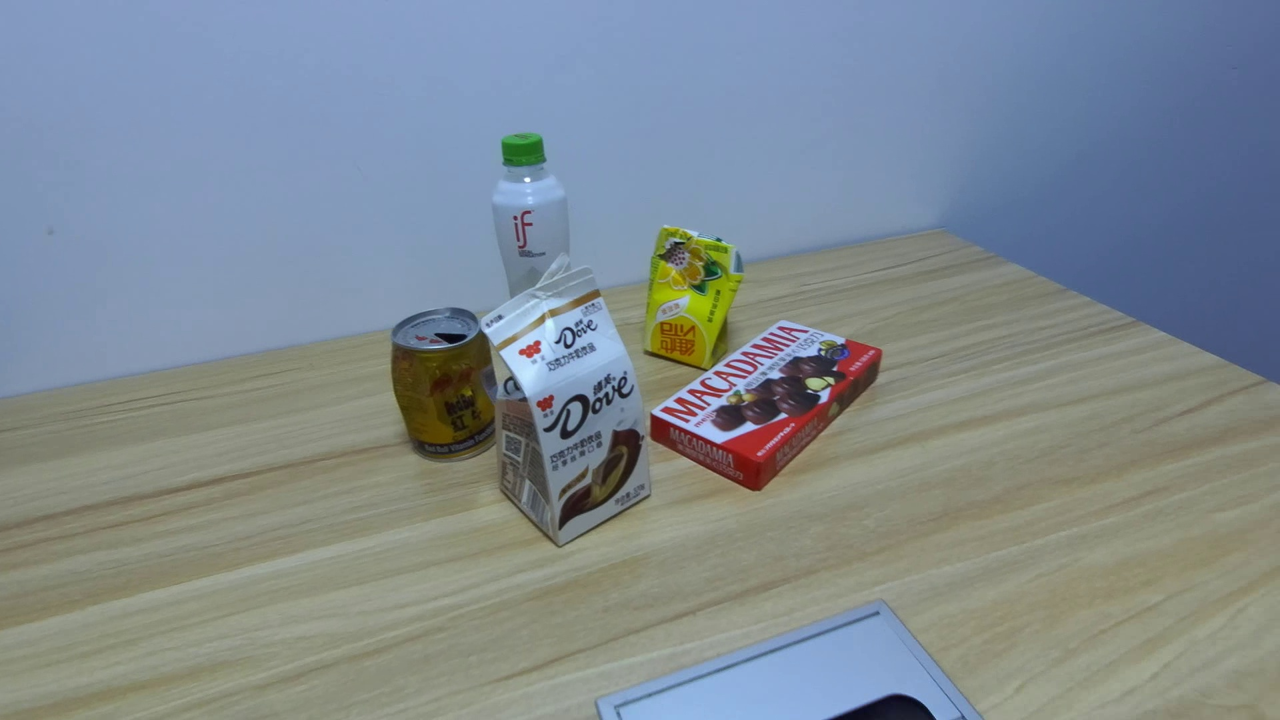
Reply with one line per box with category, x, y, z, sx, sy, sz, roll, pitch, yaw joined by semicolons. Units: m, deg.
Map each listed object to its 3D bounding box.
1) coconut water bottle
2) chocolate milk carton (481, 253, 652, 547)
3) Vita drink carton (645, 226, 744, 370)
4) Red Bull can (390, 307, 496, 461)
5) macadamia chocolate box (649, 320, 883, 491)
coconut water bottle;-0.082;-0.080;0.565;0.063;0.189;0.063;-3;26;2
chocolate milk carton;-0.046;0.020;0.425;0.076;0.156;0.073;-24;34;-31
Vita drink carton;0.044;-0.054;0.590;0.086;0.108;0.042;18;22;25
Red Bull can;-0.137;0.017;0.500;0.072;0.092;0.072;-1;29;1
macadamia chocolate box;0.099;0.025;0.531;0.095;0.027;0.178;22;39;36
